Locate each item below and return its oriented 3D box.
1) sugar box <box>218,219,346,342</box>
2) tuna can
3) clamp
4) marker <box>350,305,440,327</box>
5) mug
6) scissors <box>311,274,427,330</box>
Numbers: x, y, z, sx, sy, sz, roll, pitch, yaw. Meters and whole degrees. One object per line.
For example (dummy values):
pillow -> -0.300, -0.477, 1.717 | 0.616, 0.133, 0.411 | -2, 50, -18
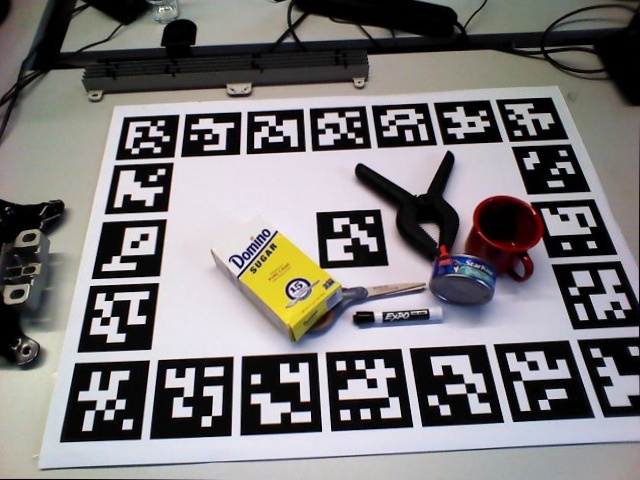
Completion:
sugar box -> -0.055, 0.047, 0.720 | 0.092, 0.045, 0.176 | -36, 58, -19
tuna can -> 0.201, 0.052, 0.692 | 0.086, 0.086, 0.033 | 12, 59, 8
clamp -> 0.163, -0.051, 0.796 | 0.165, 0.037, 0.202 | -12, 60, -6
marker -> 0.101, 0.103, 0.703 | 0.121, 0.020, 0.019 | -6, 60, -2
mug -> 0.258, 0.006, 0.724 | 0.093, 0.082, 0.117 | -27, 58, -14
scissors -> 0.053, 0.069, 0.722 | 0.203, 0.016, 0.087 | -11, 55, -7
